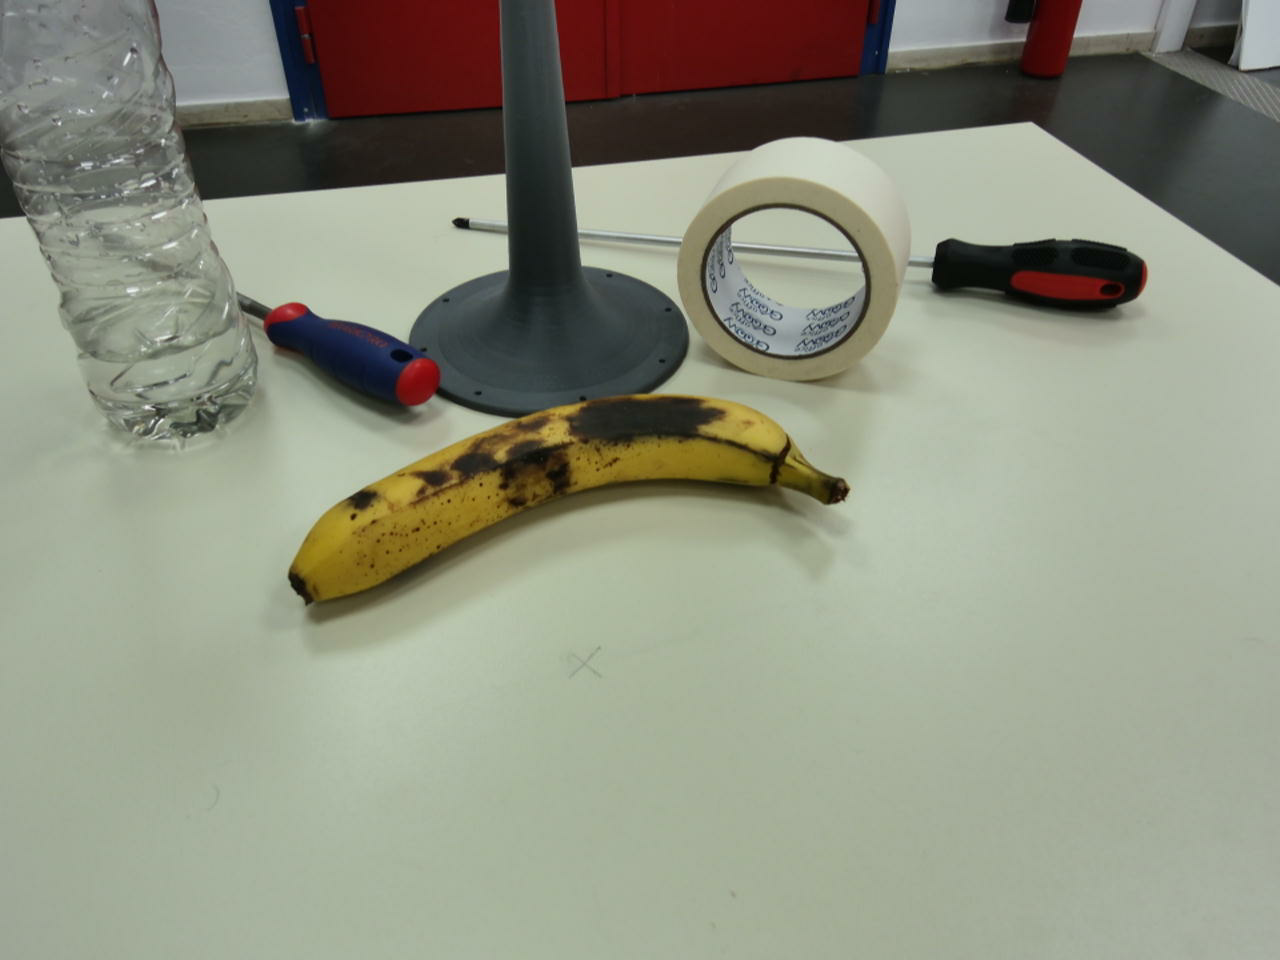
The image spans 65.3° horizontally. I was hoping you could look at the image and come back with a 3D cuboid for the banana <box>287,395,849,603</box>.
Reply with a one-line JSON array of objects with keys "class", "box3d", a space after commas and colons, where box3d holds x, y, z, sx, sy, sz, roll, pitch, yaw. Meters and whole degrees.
[{"class": "banana", "box3d": [-0.031, -0.001, 0.416, 0.222, 0.037, 0.084, -8, 39, -11]}]
